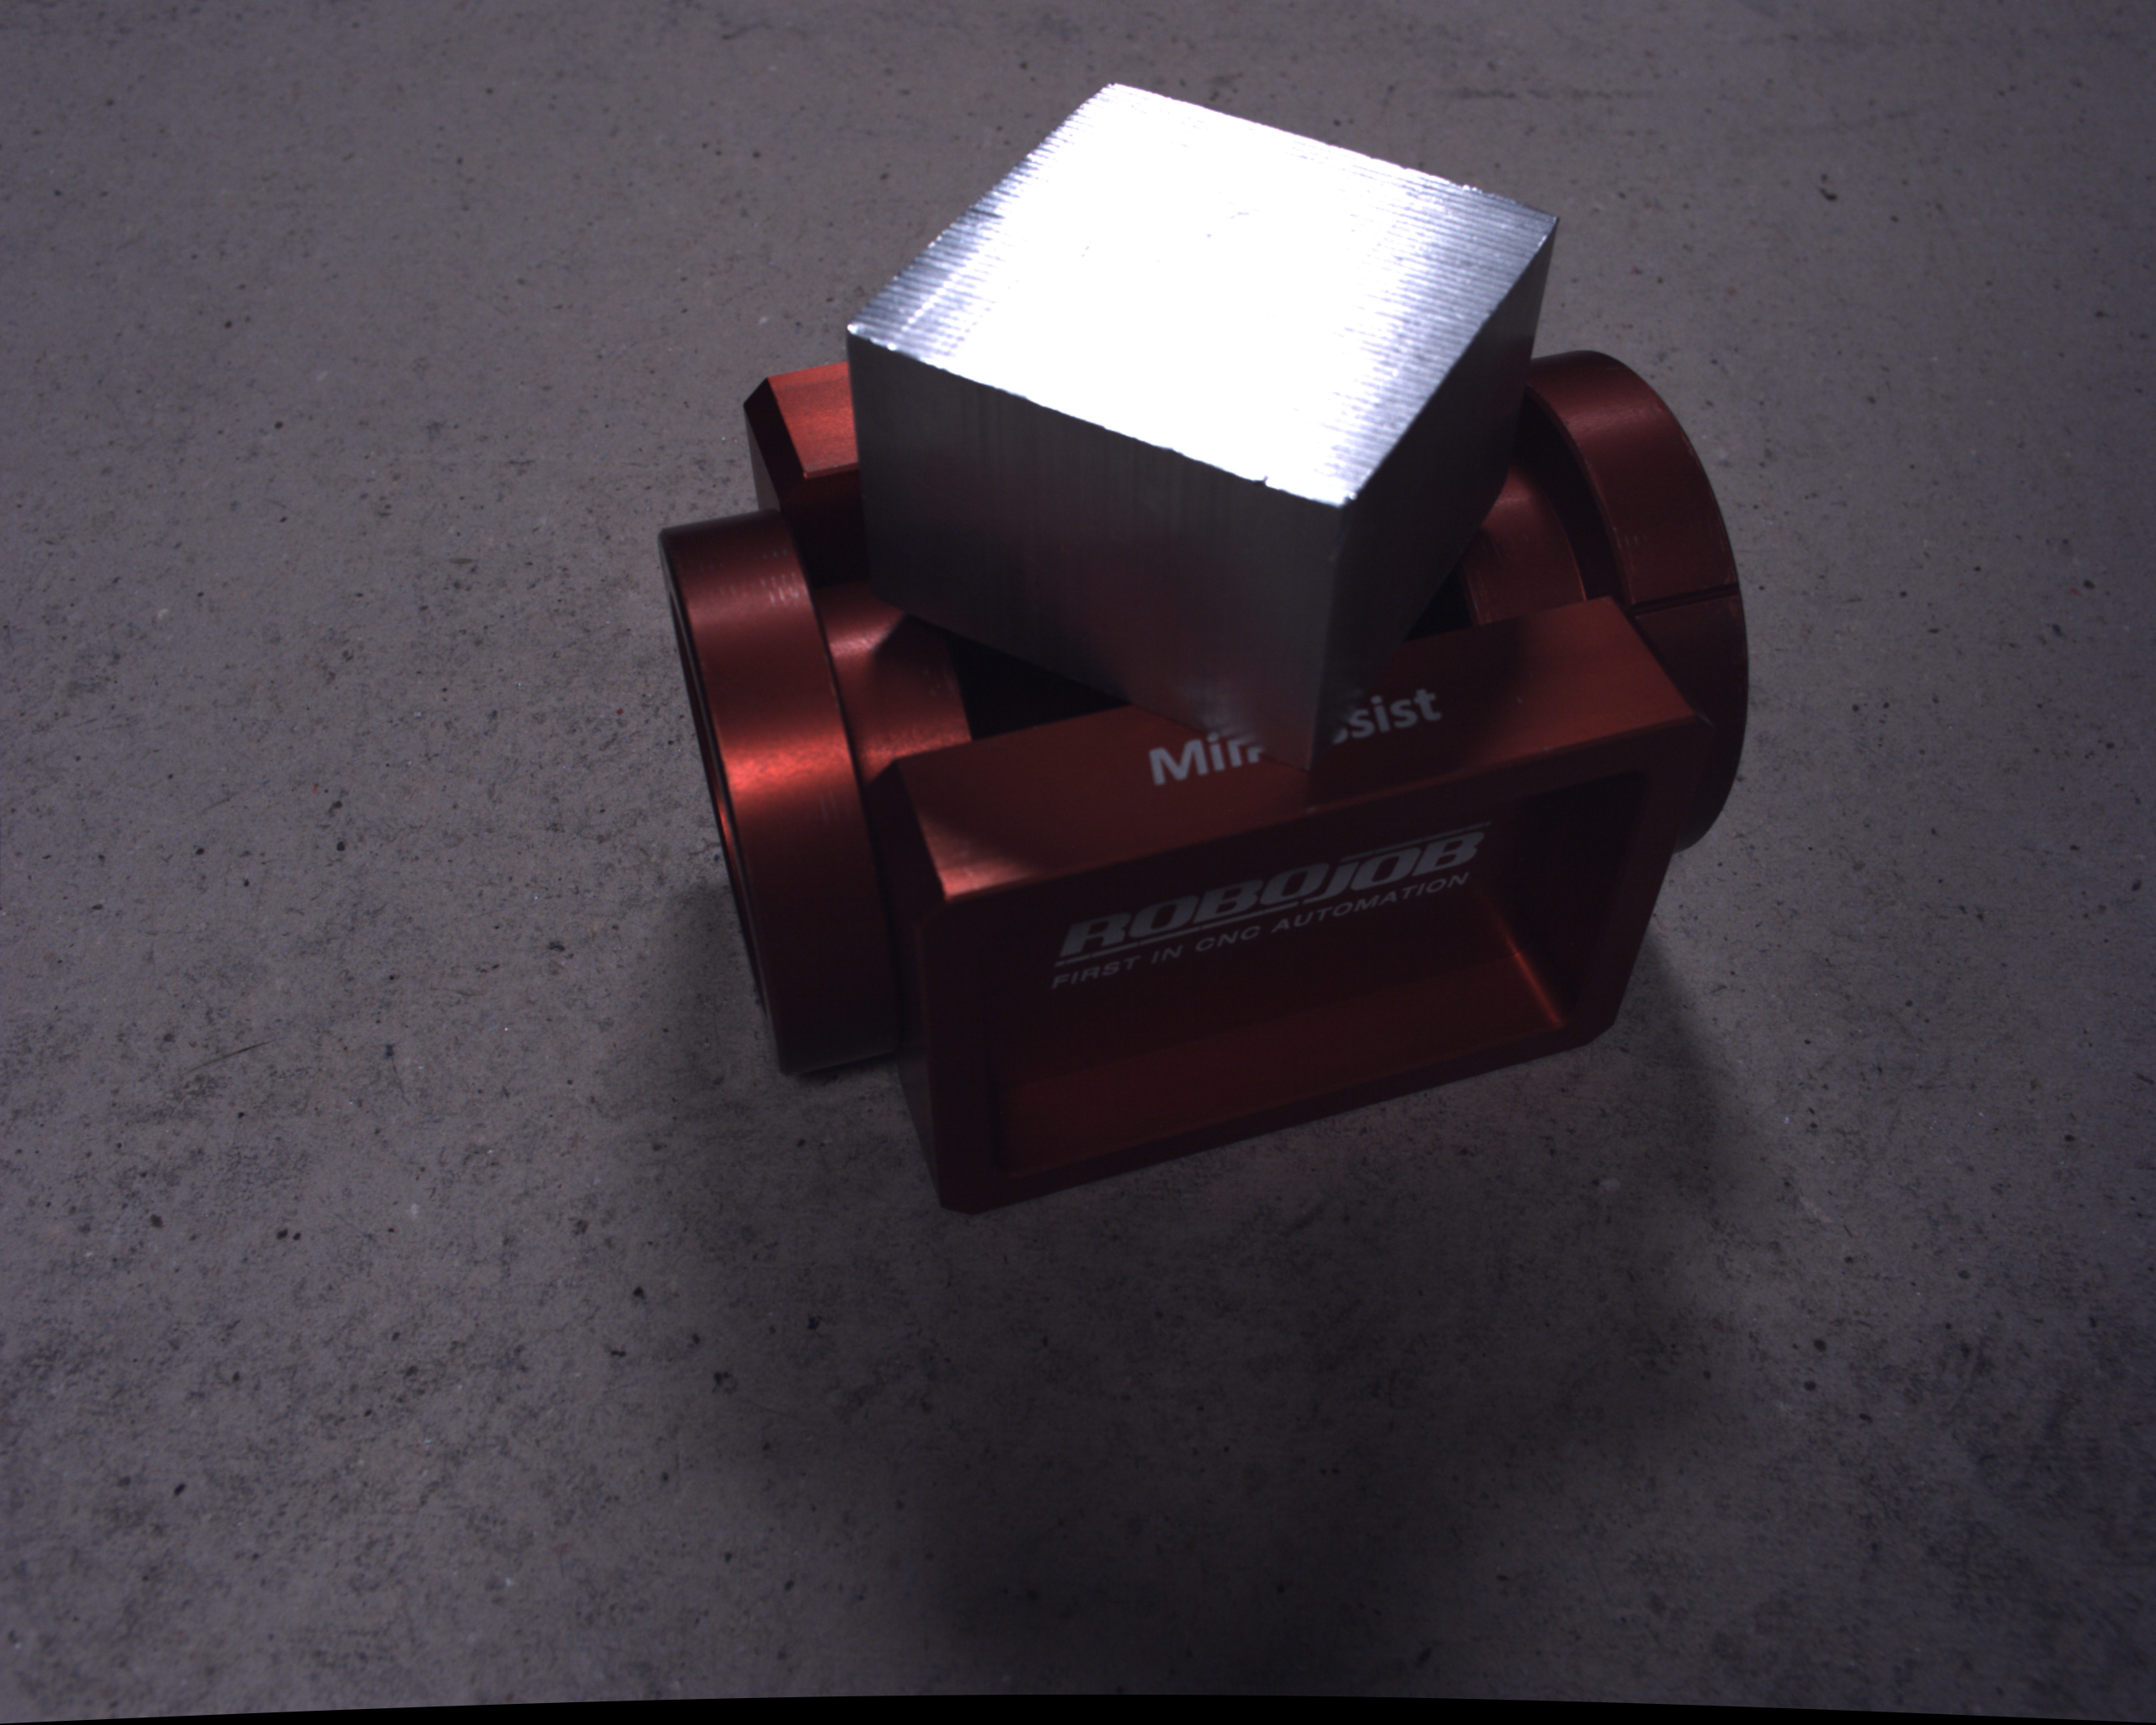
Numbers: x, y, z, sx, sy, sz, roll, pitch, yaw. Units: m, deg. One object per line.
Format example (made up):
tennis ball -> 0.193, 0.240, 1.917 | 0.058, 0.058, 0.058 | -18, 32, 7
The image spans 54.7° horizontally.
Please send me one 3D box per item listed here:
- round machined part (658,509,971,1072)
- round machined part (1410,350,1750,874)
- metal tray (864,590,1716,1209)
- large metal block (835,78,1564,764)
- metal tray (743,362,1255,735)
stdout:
round machined part -> -0.043, -0.015, 0.368 | 0.042, 0.097, 0.098 | -12, 51, -10
round machined part -> 0.083, -0.045, 0.395 | 0.042, 0.097, 0.098 | -12, 51, -10
metal tray -> 0.034, 0.008, 0.354 | 0.131, 0.089, 0.030 | -14, 52, -12
large metal block -> 0.020, -0.072, 0.330 | 0.080, 0.050, 0.080 | 24, 54, 18
metal tray -> 0.005, -0.063, 0.417 | 0.131, 0.089, 0.030 | -14, 52, -12
